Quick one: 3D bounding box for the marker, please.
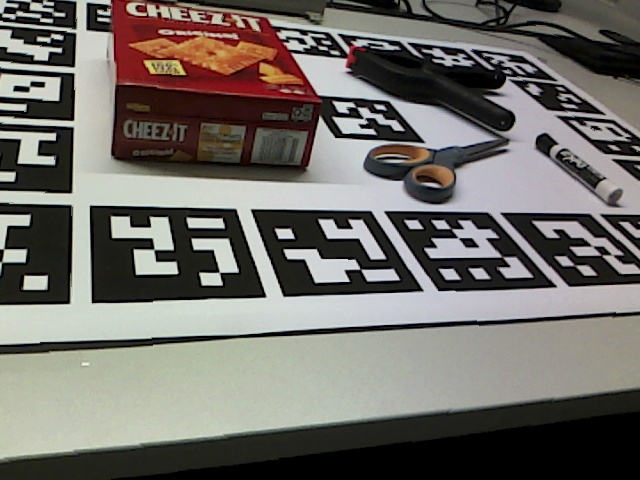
[{"bbox_3d":[0.267,-0.083,0.659,0.019,0.019,0.122,-3,37,-24],"label":"marker"}]

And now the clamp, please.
[{"bbox_3d":[0.122,-0.192,0.776,0.203,0.036,0.165,17,33,4],"label":"clamp"}]

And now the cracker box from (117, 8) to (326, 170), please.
[{"bbox_3d":[-0.103,-0.149,0.580,0.163,0.072,0.215,0,36,-20],"label":"cracker box"}]

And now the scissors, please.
[{"bbox_3d":[0.132,-0.084,0.614,0.088,0.016,0.202,34,37,30],"label":"scissors"}]
